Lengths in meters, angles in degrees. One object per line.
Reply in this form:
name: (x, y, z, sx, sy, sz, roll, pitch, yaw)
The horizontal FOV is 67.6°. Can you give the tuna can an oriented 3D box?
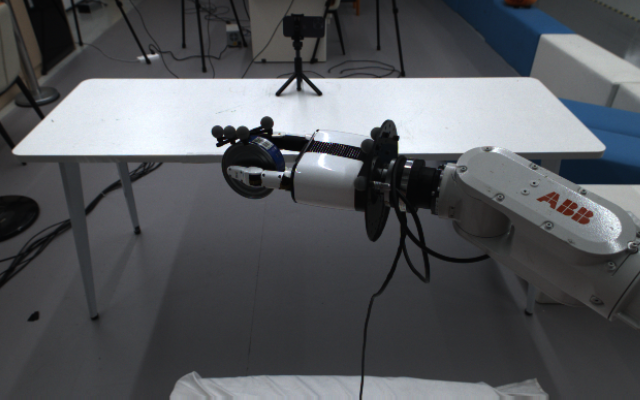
tuna can: (-0.089, -0.046, 0.684, 0.085, 0.085, 0.034, 13, 29, 15)
